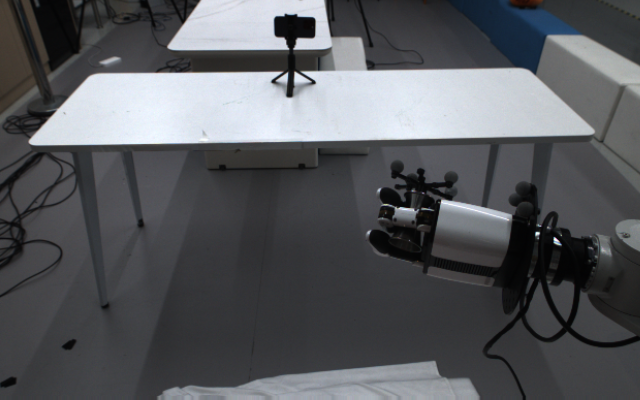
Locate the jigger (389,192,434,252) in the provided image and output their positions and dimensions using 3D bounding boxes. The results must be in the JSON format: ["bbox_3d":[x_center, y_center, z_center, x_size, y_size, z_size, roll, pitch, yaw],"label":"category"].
[{"bbox_3d":[0.120,0.027,0.615,0.043,0.043,0.071,13,69,15],"label":"jigger"}]
